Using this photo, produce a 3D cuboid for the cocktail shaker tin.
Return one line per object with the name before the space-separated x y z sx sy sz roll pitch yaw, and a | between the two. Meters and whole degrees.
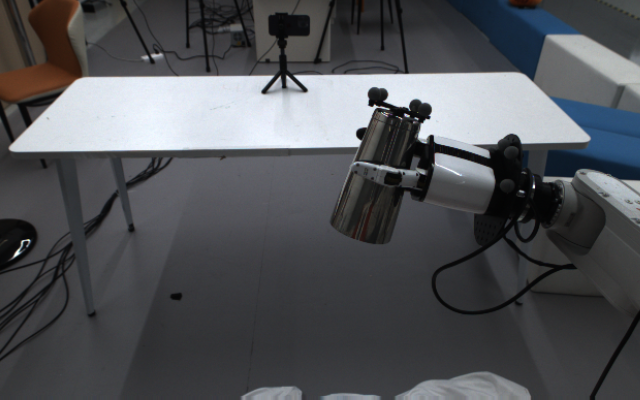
cocktail shaker tin | 0.081 -0.036 0.672 0.093 0.170 0.093 15 17 -5
